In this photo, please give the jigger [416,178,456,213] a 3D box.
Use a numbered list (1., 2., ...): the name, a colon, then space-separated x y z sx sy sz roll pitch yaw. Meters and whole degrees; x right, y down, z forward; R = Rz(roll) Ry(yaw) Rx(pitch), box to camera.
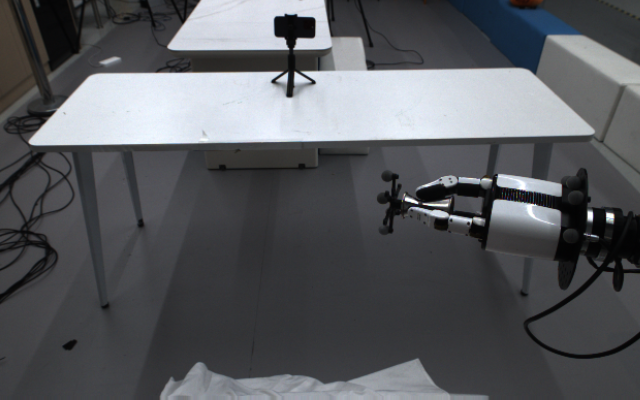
1. jigger: 0.160 0.008 0.691 0.071 0.043 0.043 6 34 21
